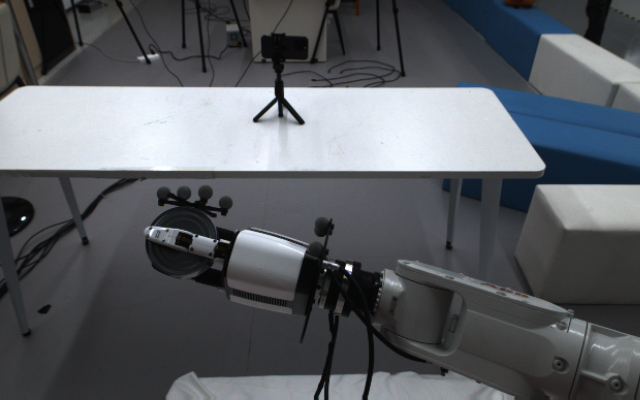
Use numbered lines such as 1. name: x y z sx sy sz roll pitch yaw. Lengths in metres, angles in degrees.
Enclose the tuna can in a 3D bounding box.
1. tuna can: -0.167 0.053 0.597 0.085 0.034 0.085 1 72 -2
